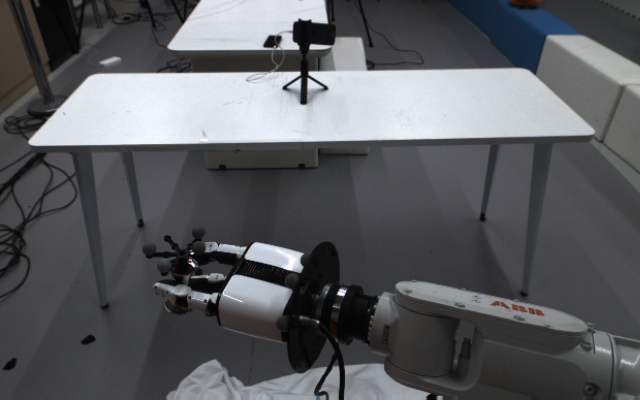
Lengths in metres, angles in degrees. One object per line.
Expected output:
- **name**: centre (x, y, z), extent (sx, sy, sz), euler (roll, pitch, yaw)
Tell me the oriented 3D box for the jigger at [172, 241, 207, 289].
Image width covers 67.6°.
- **jigger**: centre (-0.184, 0.113, 0.647), extent (0.043, 0.071, 0.043), euler (9, 31, -5)
